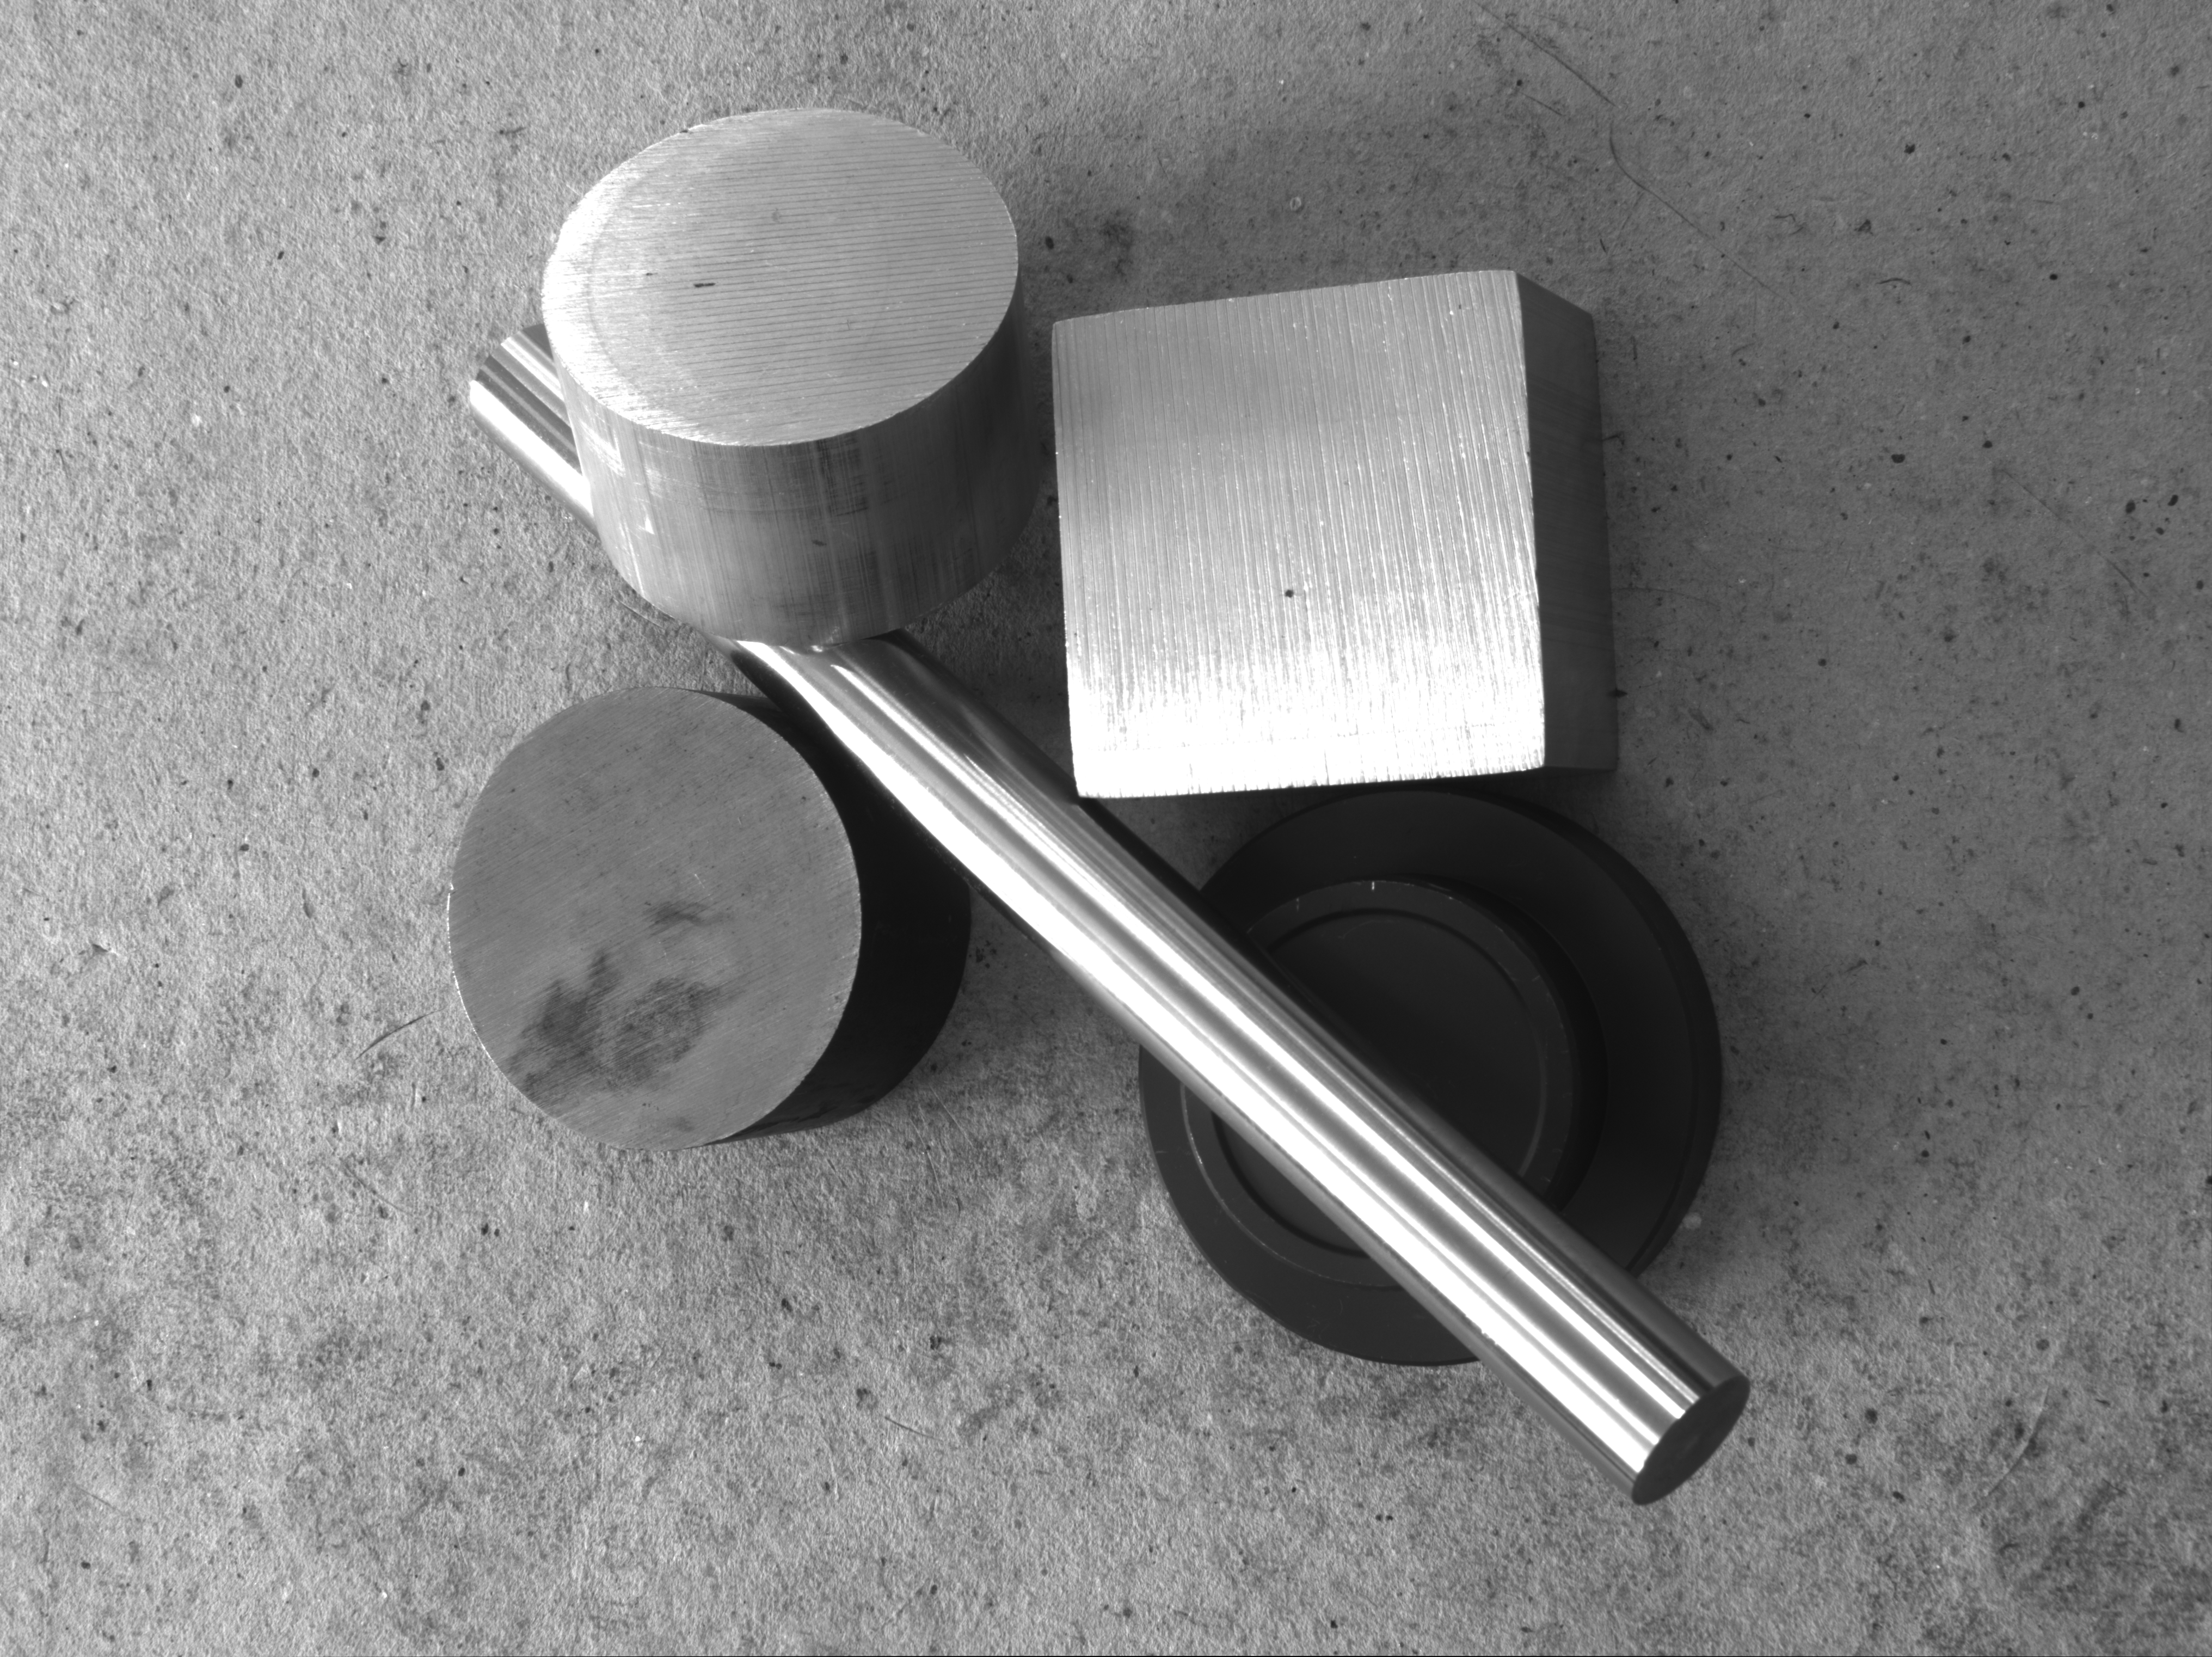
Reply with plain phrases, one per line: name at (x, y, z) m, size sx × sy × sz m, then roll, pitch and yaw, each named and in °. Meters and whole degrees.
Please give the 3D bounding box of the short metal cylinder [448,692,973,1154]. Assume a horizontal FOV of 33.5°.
short metal cylinder at (-0.070, 0.016, 0.660) m, size 0.080 × 0.050 × 0.080 m, roll 0°, pitch 90°, yaw 20°

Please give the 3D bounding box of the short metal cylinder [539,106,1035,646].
short metal cylinder at (-0.054, -0.078, 0.633) m, size 0.080 × 0.050 × 0.080 m, roll -2°, pitch 53°, yaw 2°

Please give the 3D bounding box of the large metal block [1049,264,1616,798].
large metal block at (0.039, -0.047, 0.617) m, size 0.080 × 0.050 × 0.080 m, roll -3°, pitch 89°, yaw 20°

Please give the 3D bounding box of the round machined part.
round machined part at (0.050, 0.043, 0.619) m, size 0.098 × 0.042 × 0.098 m, roll 0°, pitch 90°, yaw 20°

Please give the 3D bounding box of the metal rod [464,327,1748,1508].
metal rod at (-0.012, 0.004, 0.615) m, size 0.299 × 0.025 × 0.025 m, roll 42°, pitch 104°, yaw 29°
